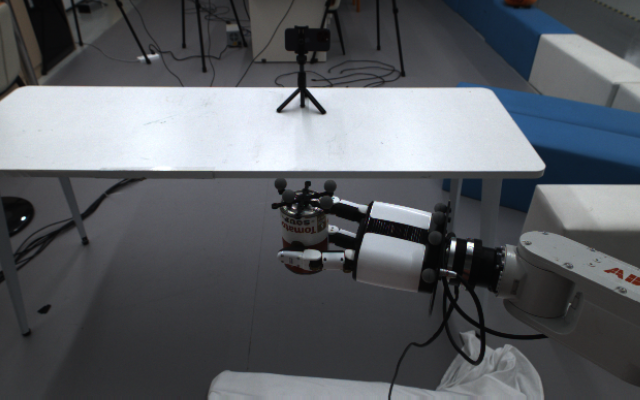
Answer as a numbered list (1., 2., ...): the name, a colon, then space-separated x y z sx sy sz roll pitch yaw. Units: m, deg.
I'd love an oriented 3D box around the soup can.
1. soup can: -0.019 0.044 0.681 0.067 0.101 0.067 -2 34 1
